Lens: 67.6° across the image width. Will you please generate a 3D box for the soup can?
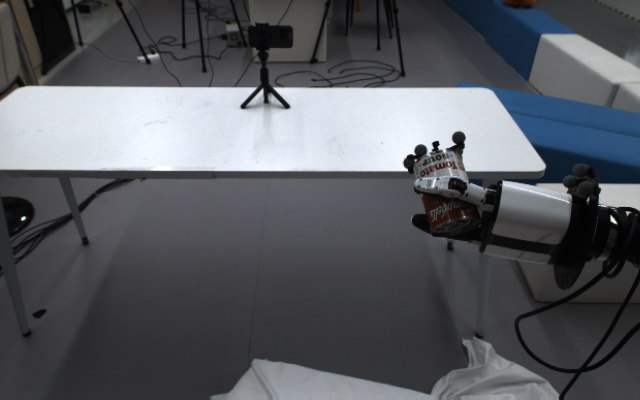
[{"bbox_3d":[0.172,-0.010,0.653,0.067,0.067,0.101,-7,68,-12],"label":"soup can"}]
